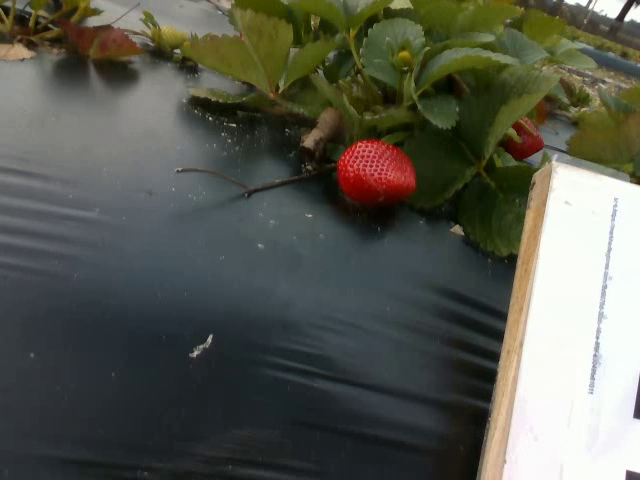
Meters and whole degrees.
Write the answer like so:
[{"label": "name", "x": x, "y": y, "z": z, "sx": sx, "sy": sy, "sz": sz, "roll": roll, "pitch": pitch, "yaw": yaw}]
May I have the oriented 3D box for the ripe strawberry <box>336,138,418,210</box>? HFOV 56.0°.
[{"label": "ripe strawberry", "x": 0.025, "y": -0.031, "z": 0.261, "sx": 0.037, "sy": 0.037, "sz": 0.046, "roll": -30, "pitch": 31, "yaw": -8}]
